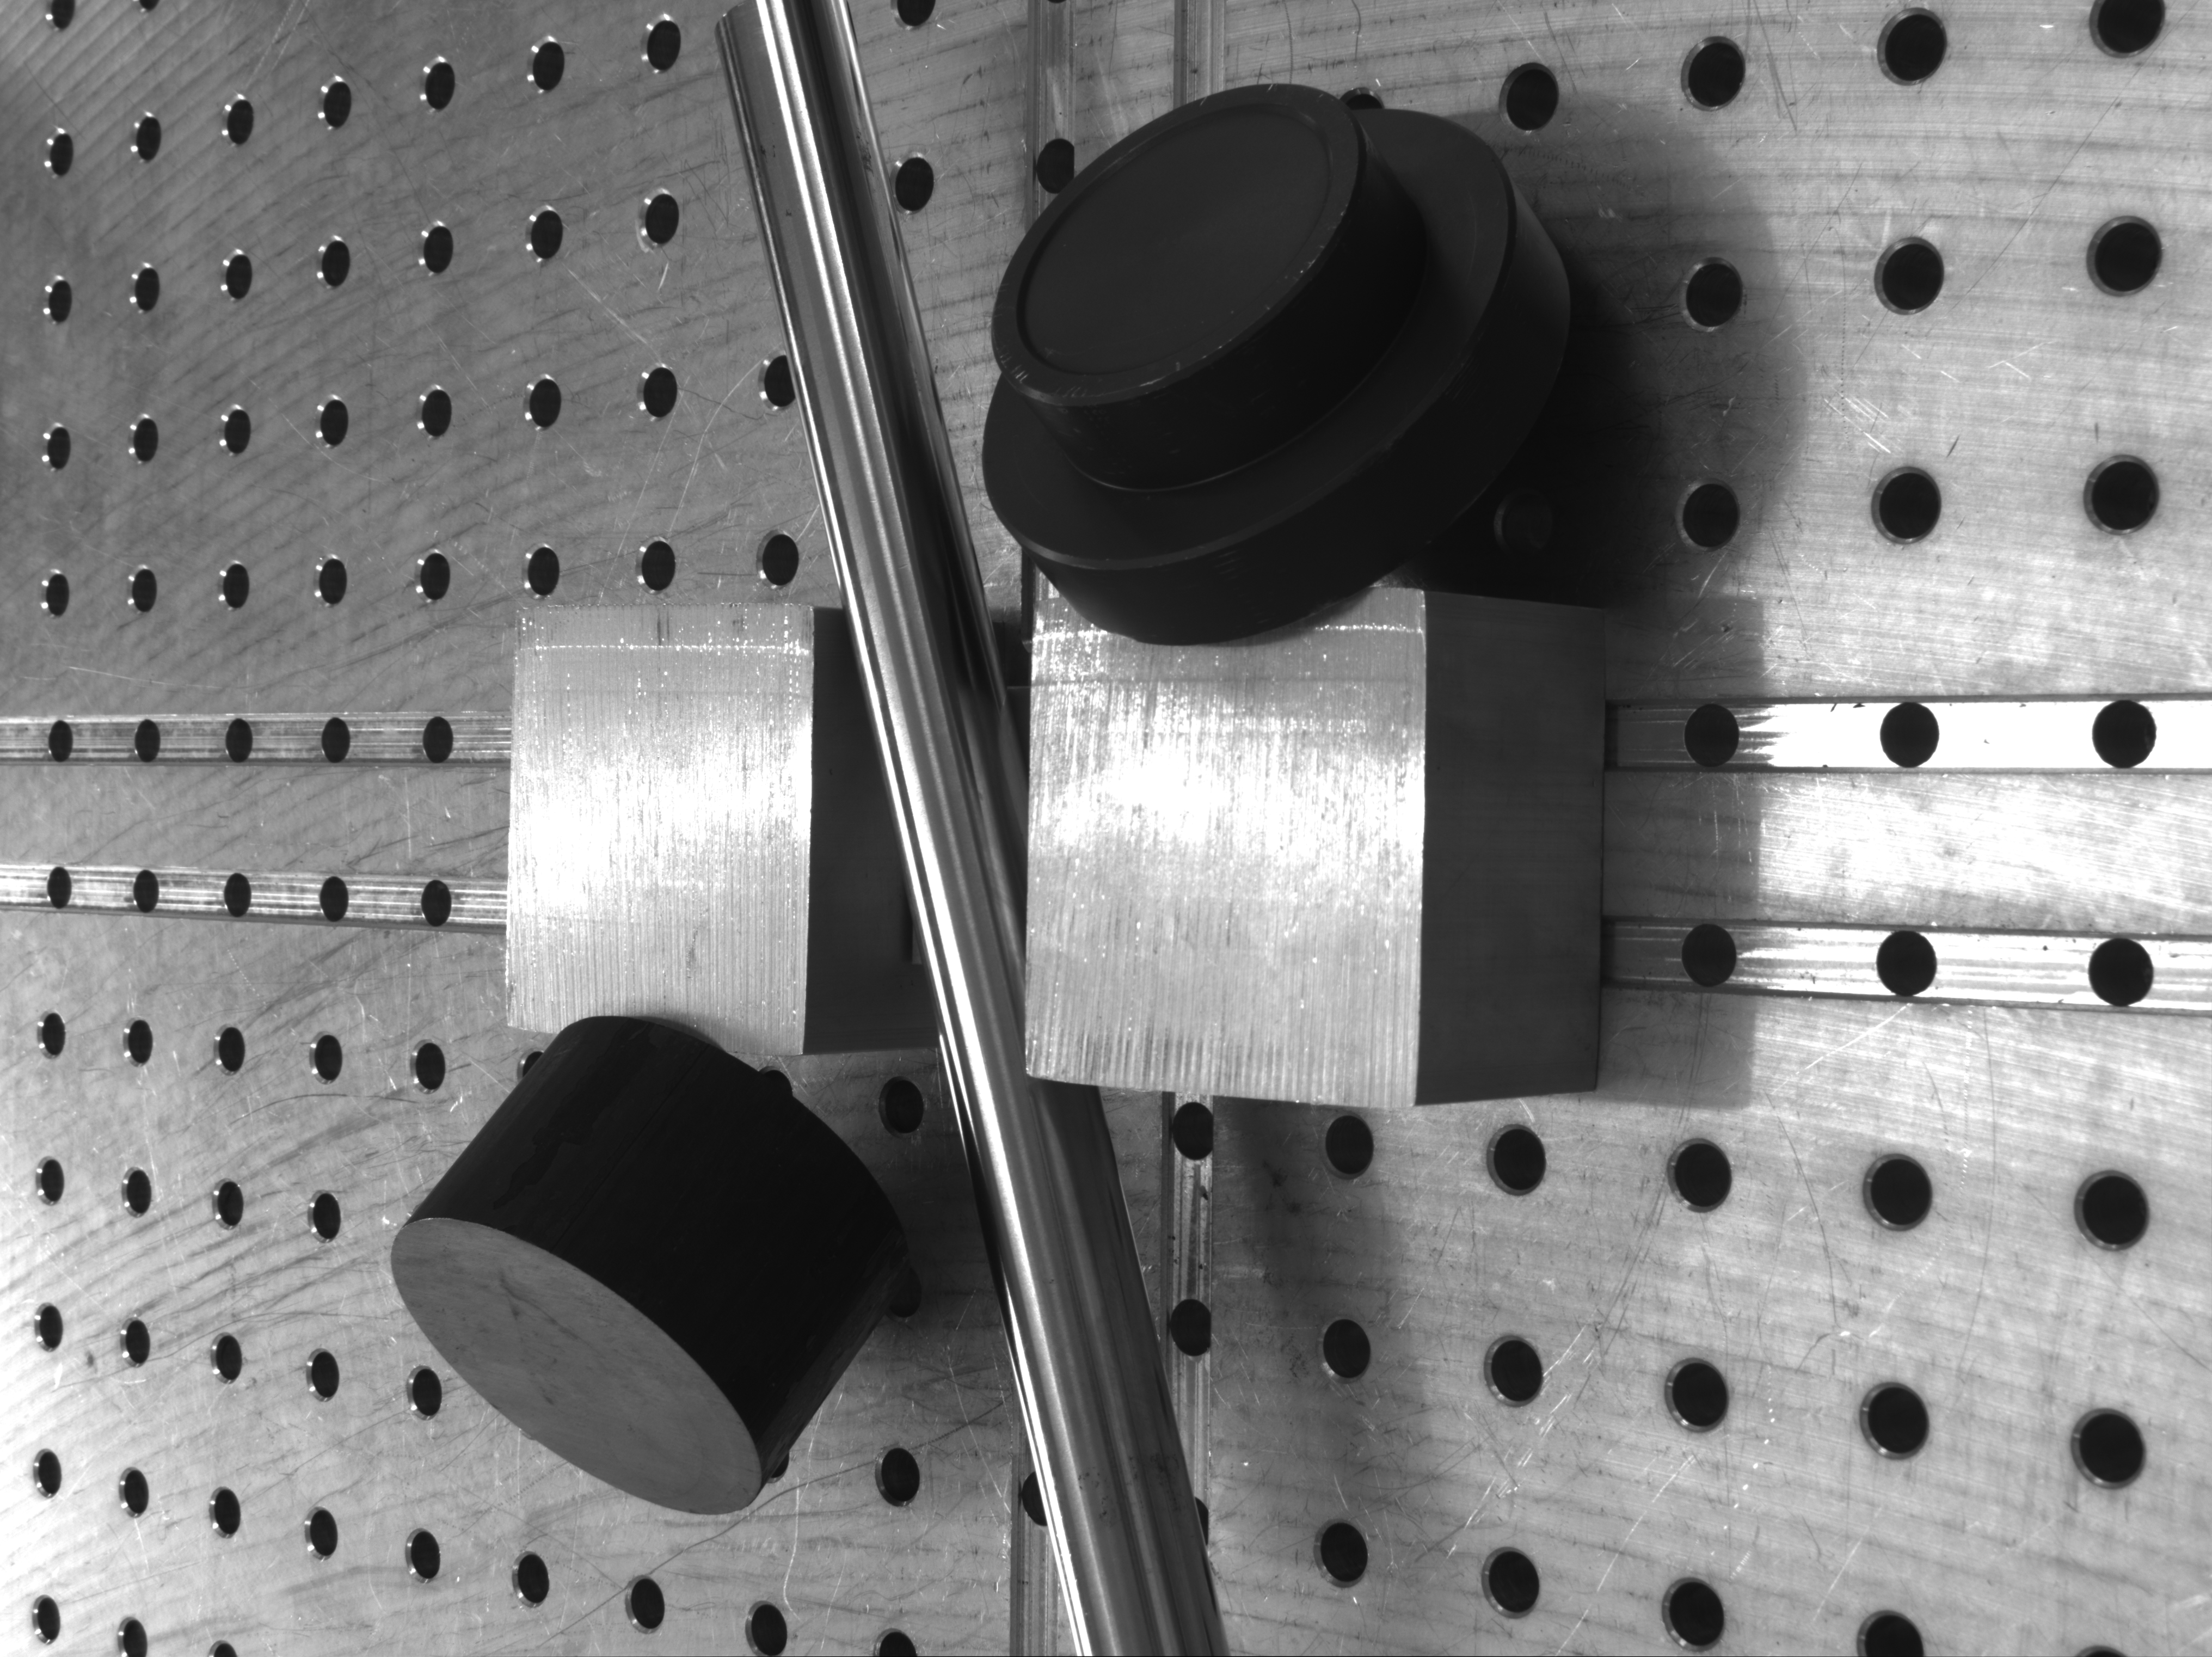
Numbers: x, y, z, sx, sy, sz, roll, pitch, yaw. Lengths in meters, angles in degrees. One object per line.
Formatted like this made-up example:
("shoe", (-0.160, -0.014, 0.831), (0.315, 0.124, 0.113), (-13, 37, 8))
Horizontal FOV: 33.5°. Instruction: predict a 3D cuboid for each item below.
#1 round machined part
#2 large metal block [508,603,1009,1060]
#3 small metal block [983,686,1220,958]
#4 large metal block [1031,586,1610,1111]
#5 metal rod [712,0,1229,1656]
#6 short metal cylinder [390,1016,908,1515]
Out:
("round machined part", (0.021, -0.080, 0.588), (0.098, 0.042, 0.098), (-22, 43, 23))
("large metal block", (-0.066, -0.001, 0.689), (0.080, 0.050, 0.080), (3, 92, 40))
("small metal block", (-0.007, 0.000, 0.656), (0.050, 0.025, 0.050), (1, 90, 40))
("large metal block", (0.035, 0.003, 0.604), (0.080, 0.050, 0.080), (1, 91, 40))
("metal rod", (-0.025, -0.003, 0.636), (0.025, 0.025, 0.300), (-22, 76, 38))
("short metal cylinder", (-0.084, 0.081, 0.675), (0.080, 0.050, 0.080), (24, 145, 18))
